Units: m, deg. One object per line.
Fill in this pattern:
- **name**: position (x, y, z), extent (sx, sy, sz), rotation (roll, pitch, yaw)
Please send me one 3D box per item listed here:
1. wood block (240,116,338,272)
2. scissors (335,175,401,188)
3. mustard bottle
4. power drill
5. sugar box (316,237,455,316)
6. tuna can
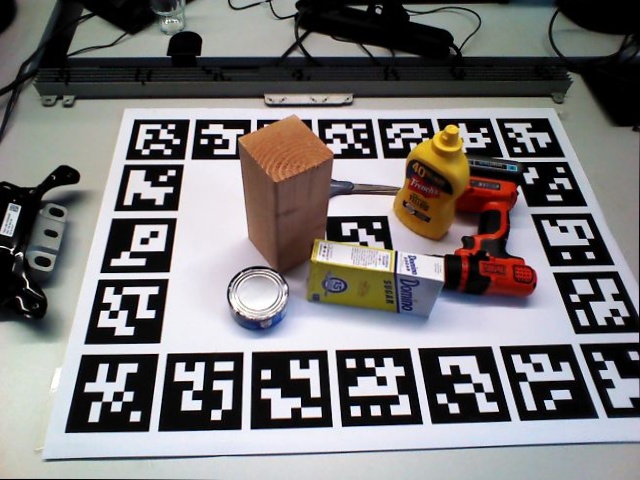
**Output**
- **wood block**: position (-0.042, -0.055, 0.706), extent (0.090, 0.207, 0.090), rotation (-26, 62, -18)
- **scissors**: position (0.030, -0.091, 0.836), extent (0.203, 0.016, 0.087), rotation (0, 52, -2)
- **mustard bottle**: position (0.175, -0.088, 0.743), extent (0.058, 0.192, 0.096), rotation (-38, 66, -23)
- **power drill**: position (0.223, -0.014, 0.766), extent (0.185, 0.057, 0.186), rotation (10, 63, 5)
- **sugar box**: position (0.086, 0.052, 0.698), extent (0.177, 0.093, 0.045), rotation (9, 53, 2)
- **tuna can**: position (-0.080, 0.076, 0.705), extent (0.086, 0.034, 0.085), rotation (1, 57, -2)
